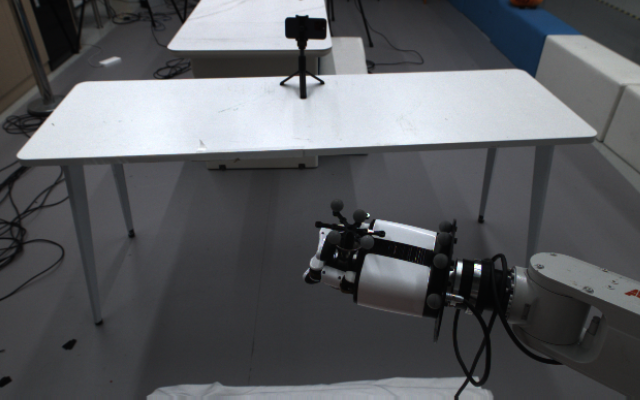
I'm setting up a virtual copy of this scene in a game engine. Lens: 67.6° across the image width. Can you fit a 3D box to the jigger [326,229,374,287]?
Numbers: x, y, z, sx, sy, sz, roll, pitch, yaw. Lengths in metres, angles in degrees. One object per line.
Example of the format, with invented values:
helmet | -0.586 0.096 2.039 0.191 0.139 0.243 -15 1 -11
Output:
jigger | 0.034 0.080 0.642 0.043 0.071 0.043 7 32 -4
